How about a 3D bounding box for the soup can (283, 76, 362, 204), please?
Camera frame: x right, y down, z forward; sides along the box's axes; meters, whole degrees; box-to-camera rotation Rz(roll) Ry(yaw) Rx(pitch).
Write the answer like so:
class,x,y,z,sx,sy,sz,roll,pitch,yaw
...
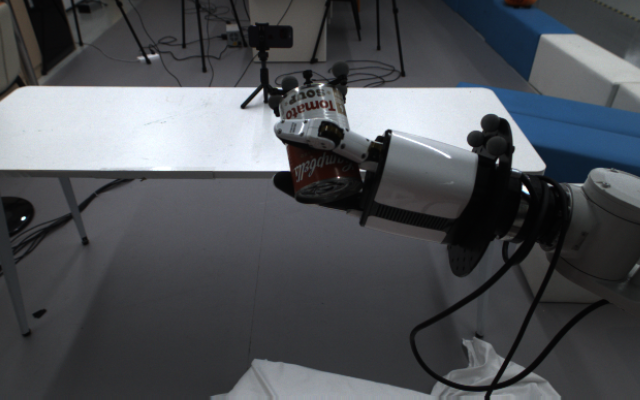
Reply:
class,x,y,z,sx,sy,sz,roll,pitch,yaw
soup can,0.001,-0.055,0.482,0.067,0.067,0.101,-8,74,-14
